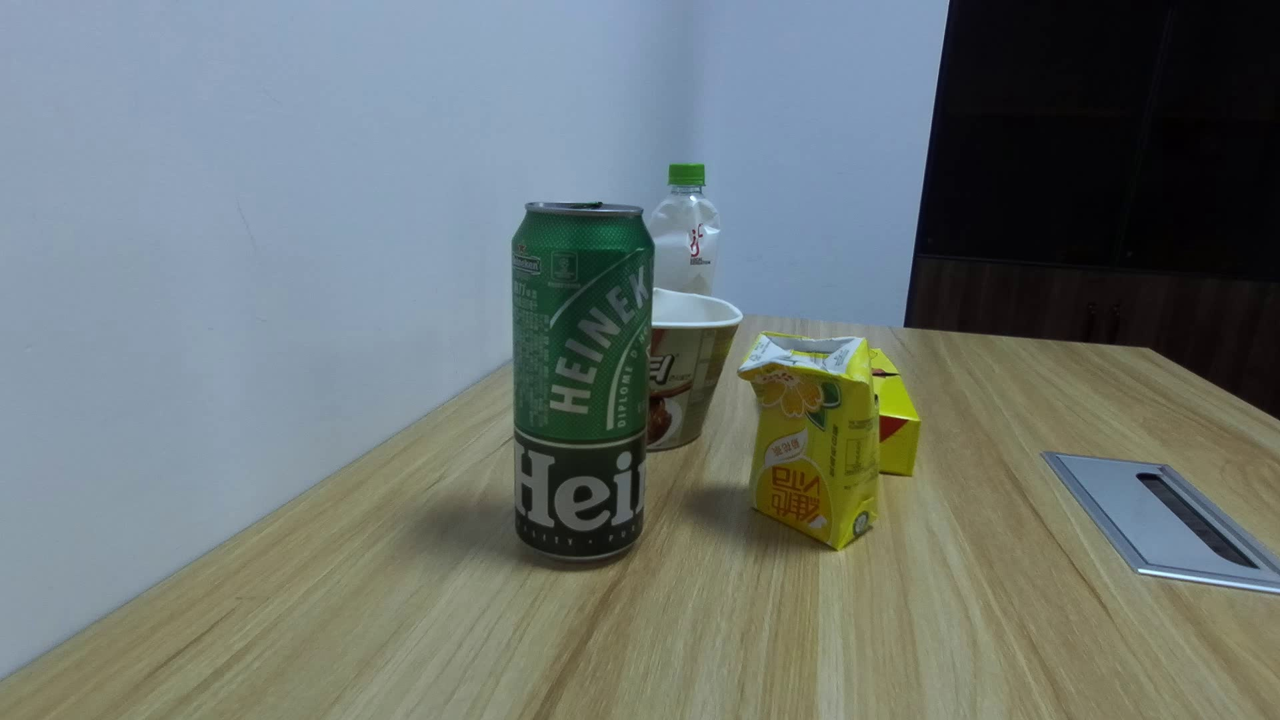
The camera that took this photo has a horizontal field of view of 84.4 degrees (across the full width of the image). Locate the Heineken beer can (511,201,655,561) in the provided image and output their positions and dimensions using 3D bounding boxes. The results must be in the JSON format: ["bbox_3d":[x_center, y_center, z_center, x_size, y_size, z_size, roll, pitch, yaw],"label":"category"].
[{"bbox_3d":[-0.028,0.012,0.347,0.067,0.169,0.067,2,14,0],"label":"Heineken beer can"}]

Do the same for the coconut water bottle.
[{"bbox_3d":[0.036,-0.073,0.613,0.069,0.186,0.069,0,15,0],"label":"coconut water bottle"}]

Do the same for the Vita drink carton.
[{"bbox_3d":[0.089,0.041,0.378,0.042,0.108,0.086,-26,26,-34],"label":"Vita drink carton"}]

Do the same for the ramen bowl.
[{"bbox_3d":[0.000,0.006,0.507,0.137,0.098,0.137,1,18,0],"label":"ramen bowl"}]
